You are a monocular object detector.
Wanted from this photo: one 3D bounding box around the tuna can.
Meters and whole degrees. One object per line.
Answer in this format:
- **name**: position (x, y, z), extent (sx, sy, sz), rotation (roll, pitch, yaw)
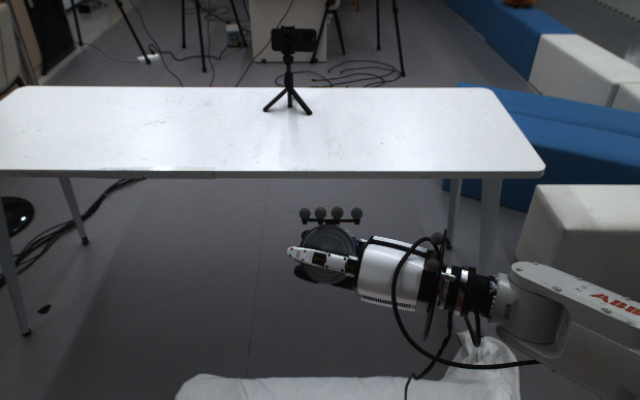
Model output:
- **tuna can**: position (0.016, 0.078, 0.705), extent (0.085, 0.085, 0.034), rotation (16, 0, 19)
